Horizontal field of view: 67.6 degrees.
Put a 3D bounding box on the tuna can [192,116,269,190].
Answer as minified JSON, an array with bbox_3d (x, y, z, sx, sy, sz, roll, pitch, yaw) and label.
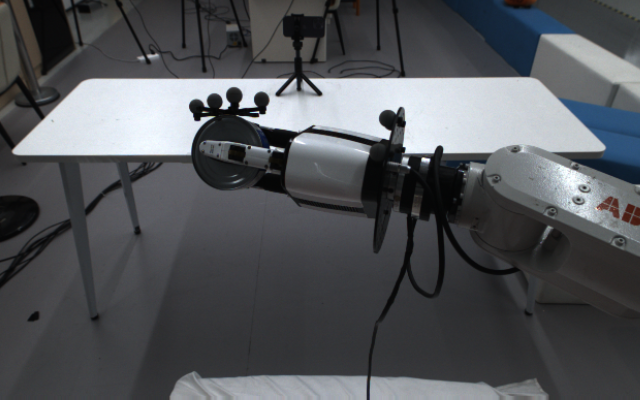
[{"bbox_3d":[-0.099,-0.049,0.557,0.085,0.085,0.034,10,3,11],"label":"tuna can"}]
